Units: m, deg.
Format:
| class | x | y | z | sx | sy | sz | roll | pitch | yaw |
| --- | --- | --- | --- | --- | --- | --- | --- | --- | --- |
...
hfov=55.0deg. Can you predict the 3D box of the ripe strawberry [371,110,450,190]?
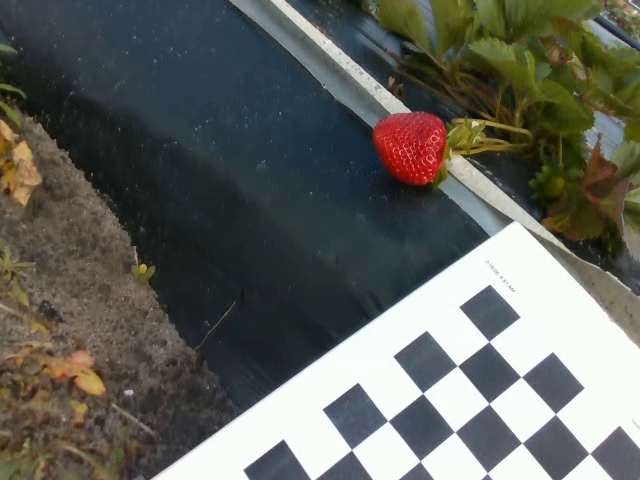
| class | x | y | z | sx | sy | sz | roll | pitch | yaw |
| --- | --- | --- | --- | --- | --- | --- | --- | --- | --- |
| ripe strawberry | 0.048 | -0.053 | 0.334 | 0.052 | 0.048 | 0.030 | 15 | -29 | -24 |
